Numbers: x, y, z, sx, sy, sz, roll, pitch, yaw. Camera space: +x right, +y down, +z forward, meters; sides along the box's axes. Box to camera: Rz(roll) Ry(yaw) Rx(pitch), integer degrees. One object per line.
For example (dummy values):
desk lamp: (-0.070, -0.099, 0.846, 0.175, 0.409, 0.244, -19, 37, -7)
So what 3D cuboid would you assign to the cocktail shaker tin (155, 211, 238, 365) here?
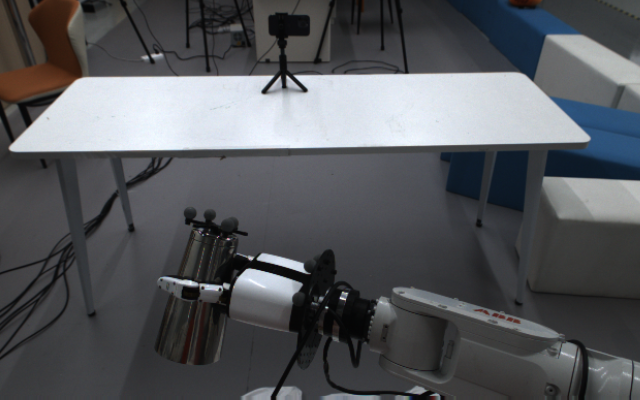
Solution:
cocktail shaker tin: (-0.164, 0.129, 0.671, 0.093, 0.170, 0.093, 13, 2, 0)
